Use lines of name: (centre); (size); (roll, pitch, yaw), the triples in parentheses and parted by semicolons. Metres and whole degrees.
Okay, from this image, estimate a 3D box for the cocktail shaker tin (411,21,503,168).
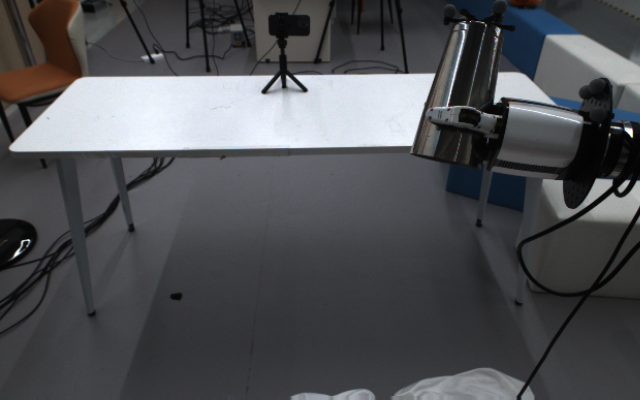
cocktail shaker tin: (0.181, -0.133, 0.621); (0.093, 0.170, 0.093); (13, 4, -1)
